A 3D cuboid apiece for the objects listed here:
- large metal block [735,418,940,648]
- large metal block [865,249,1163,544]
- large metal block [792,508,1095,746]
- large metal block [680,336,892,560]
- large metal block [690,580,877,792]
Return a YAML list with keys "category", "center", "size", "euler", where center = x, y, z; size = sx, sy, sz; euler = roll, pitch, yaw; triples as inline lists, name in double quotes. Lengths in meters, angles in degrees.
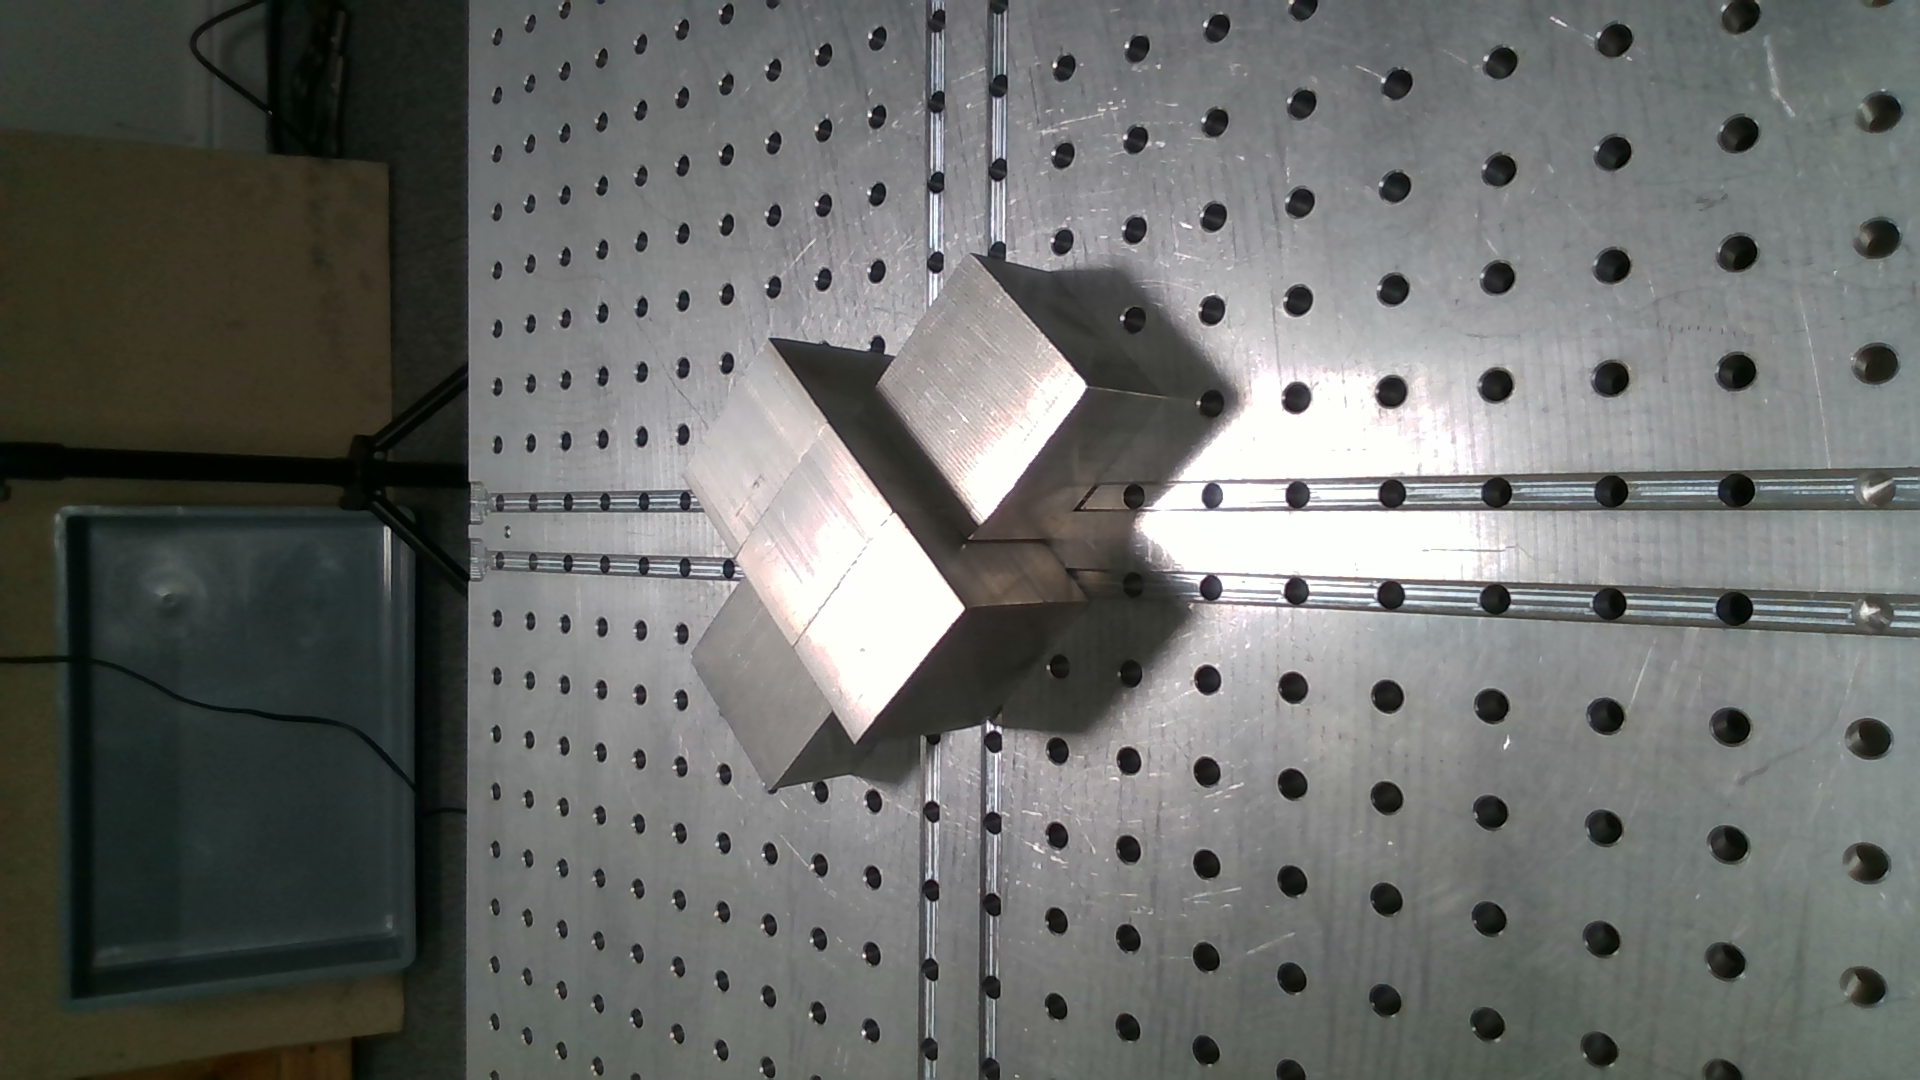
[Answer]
- category: "large metal block"
  center: [-0.034, -0.002, 0.578]
  size: [0.080, 0.080, 0.050]
  euler: [-52, 60, 28]
- category: "large metal block"
  center: [0.019, -0.055, 0.549]
  size: [0.080, 0.050, 0.080]
  euler: [-53, 58, 27]
- category: "large metal block"
  center: [-0.007, 0.034, 0.556]
  size: [0.080, 0.080, 0.050]
  euler: [-52, 60, 28]
- category: "large metal block"
  center: [-0.061, -0.038, 0.601]
  size: [0.080, 0.080, 0.050]
  euler: [-52, 60, 28]
- category: "large metal block"
  center: [-0.068, 0.055, 0.626]
  size: [0.080, 0.050, 0.080]
  euler: [-52, 59, 28]
